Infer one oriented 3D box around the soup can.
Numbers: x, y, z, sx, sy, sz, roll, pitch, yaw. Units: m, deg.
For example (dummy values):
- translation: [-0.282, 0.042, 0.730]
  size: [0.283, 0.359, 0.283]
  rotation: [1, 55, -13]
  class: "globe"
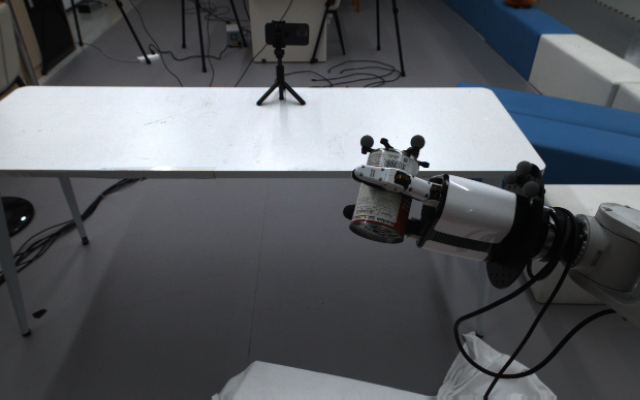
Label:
- translation: [0.083, -0.005, 0.602]
  size: [0.067, 0.067, 0.101]
  rotation: [11, 72, 13]
  class: "soup can"
